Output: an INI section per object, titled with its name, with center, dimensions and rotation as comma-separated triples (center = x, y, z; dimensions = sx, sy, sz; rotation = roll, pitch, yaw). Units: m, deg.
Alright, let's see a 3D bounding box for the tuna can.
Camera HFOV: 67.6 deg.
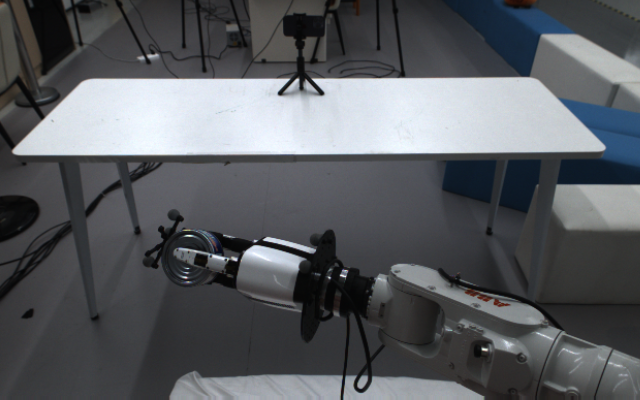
[tuna can]
center = -0.186, 0.085, 0.712
dimensions = 0.085, 0.085, 0.034
rotation = 10, -3, 11
